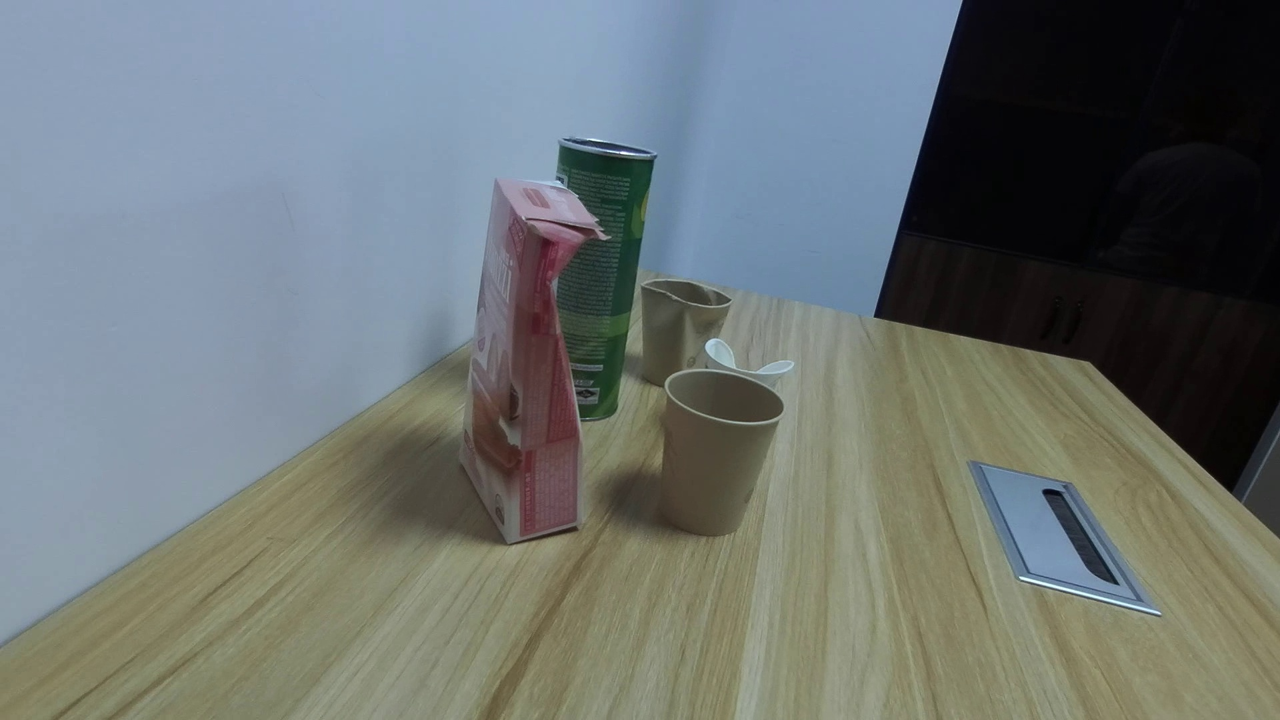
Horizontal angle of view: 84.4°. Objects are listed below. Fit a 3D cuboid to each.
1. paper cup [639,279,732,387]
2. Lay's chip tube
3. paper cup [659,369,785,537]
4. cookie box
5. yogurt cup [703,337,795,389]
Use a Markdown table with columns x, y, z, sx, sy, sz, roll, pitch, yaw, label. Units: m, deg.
| x | y | z | sx | sy | sz | roll | pitch | yaw | label |
| --- | --- | --- | --- | --- | --- | --- | --- | --- | --- |
| 0.036 | -0.023 | 0.631 | 0.066 | 0.084 | 0.071 | -11 | 29 | -44 | paper cup |
| -0.037 | -0.059 | 0.532 | 0.071 | 0.202 | 0.071 | 8 | 21 | -3 | Lay's chip tube |
| 0.045 | 0.060 | 0.434 | 0.075 | 0.082 | 0.075 | 8 | 19 | -3 | paper cup |
| -0.060 | 0.000 | 0.400 | 0.056 | 0.184 | 0.118 | -1 | 24 | -24 | cookie box |
| 0.074 | 0.028 | 0.534 | 0.067 | 0.070 | 0.067 | 10 | 22 | -4 | yogurt cup |
